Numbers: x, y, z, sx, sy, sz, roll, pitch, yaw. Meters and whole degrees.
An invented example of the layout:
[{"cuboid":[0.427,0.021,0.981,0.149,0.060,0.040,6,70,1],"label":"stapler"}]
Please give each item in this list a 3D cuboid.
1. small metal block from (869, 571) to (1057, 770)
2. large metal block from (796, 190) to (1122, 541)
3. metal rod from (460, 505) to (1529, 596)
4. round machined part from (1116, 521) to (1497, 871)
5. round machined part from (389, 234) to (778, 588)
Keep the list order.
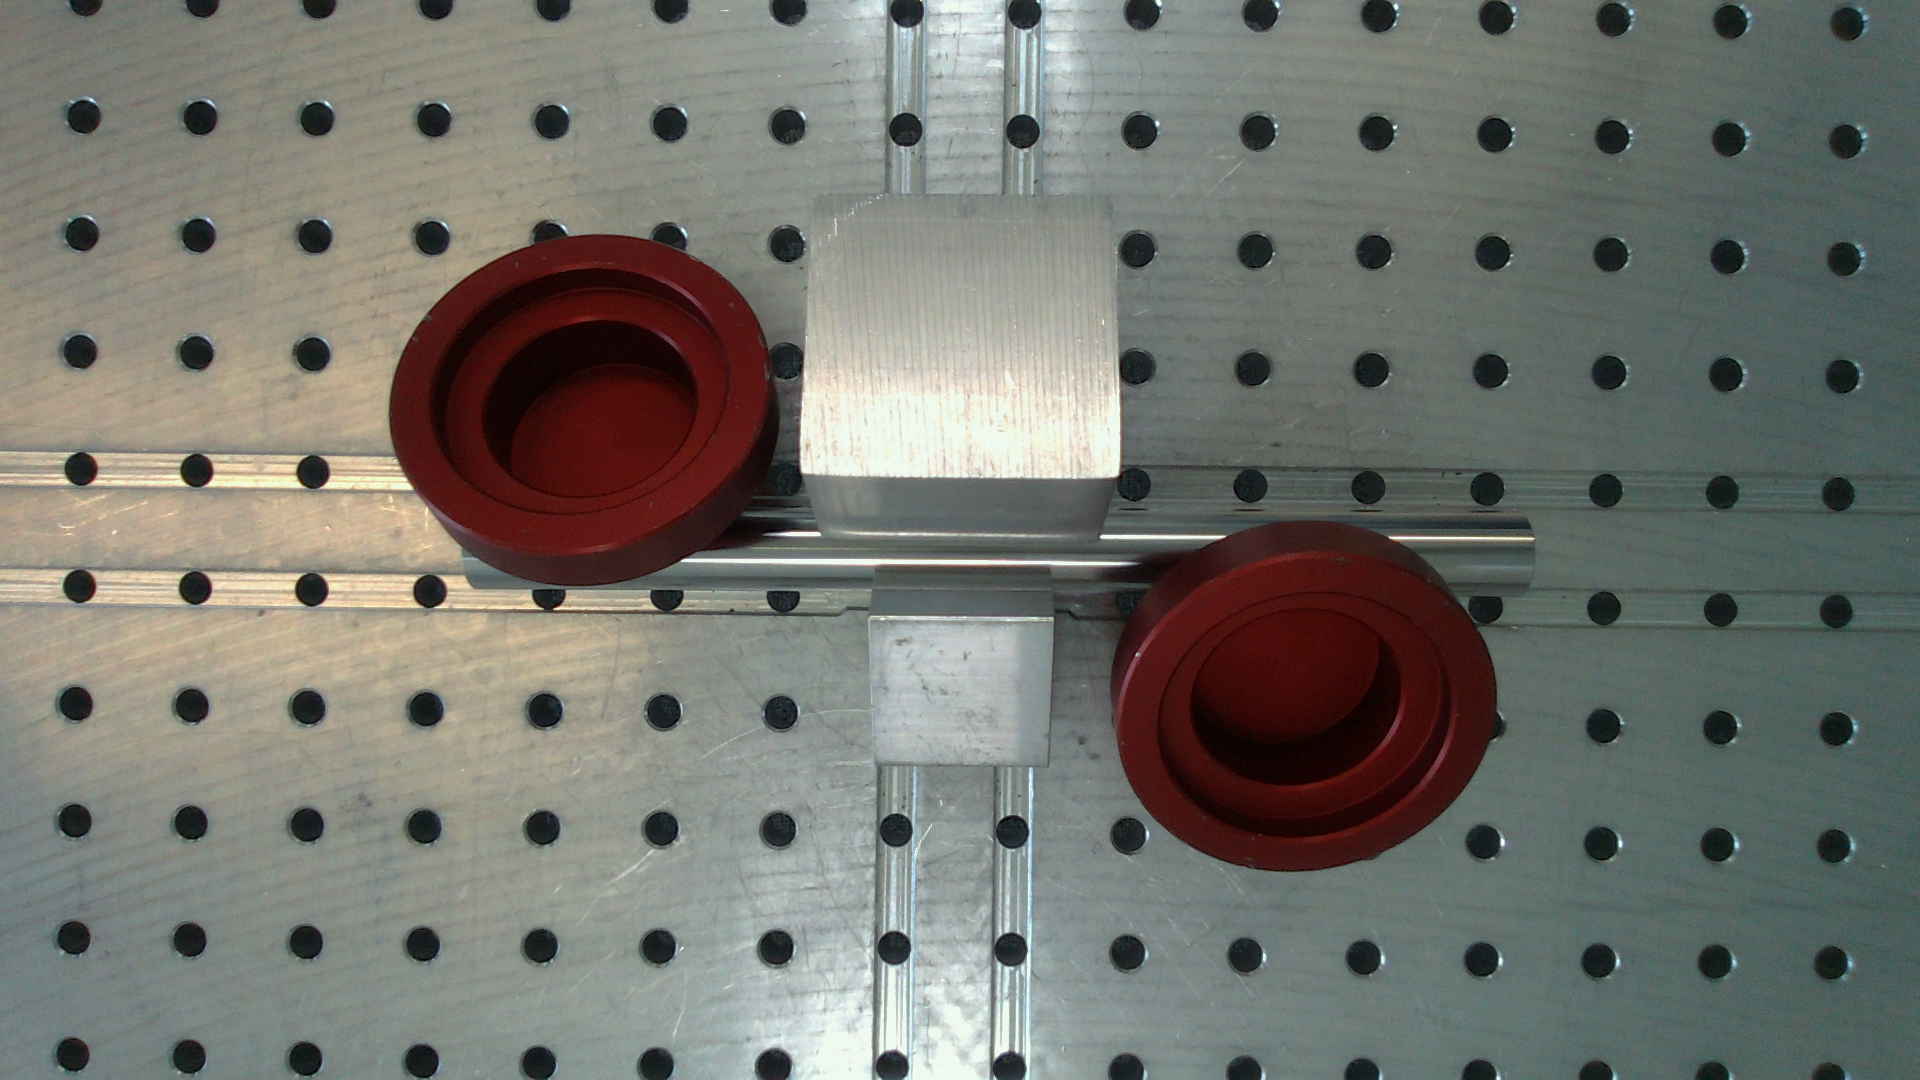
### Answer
[{"cuboid":[0.001,0.037,0.388,0.050,0.025,0.050,1,119,0],"label":"small metal block"},{"cuboid":[0.000,-0.046,0.374,0.080,0.050,0.080,1,72,0],"label":"large metal block"},{"cuboid":[0.010,0.003,0.398,0.300,0.025,0.025,0,90,0],"label":"metal rod"},{"cuboid":[0.091,0.039,0.377,0.098,0.042,0.098,0,115,0],"label":"round machined part"},{"cuboid":[-0.099,-0.031,0.376,0.098,0.042,0.098,0,64,0],"label":"round machined part"}]
